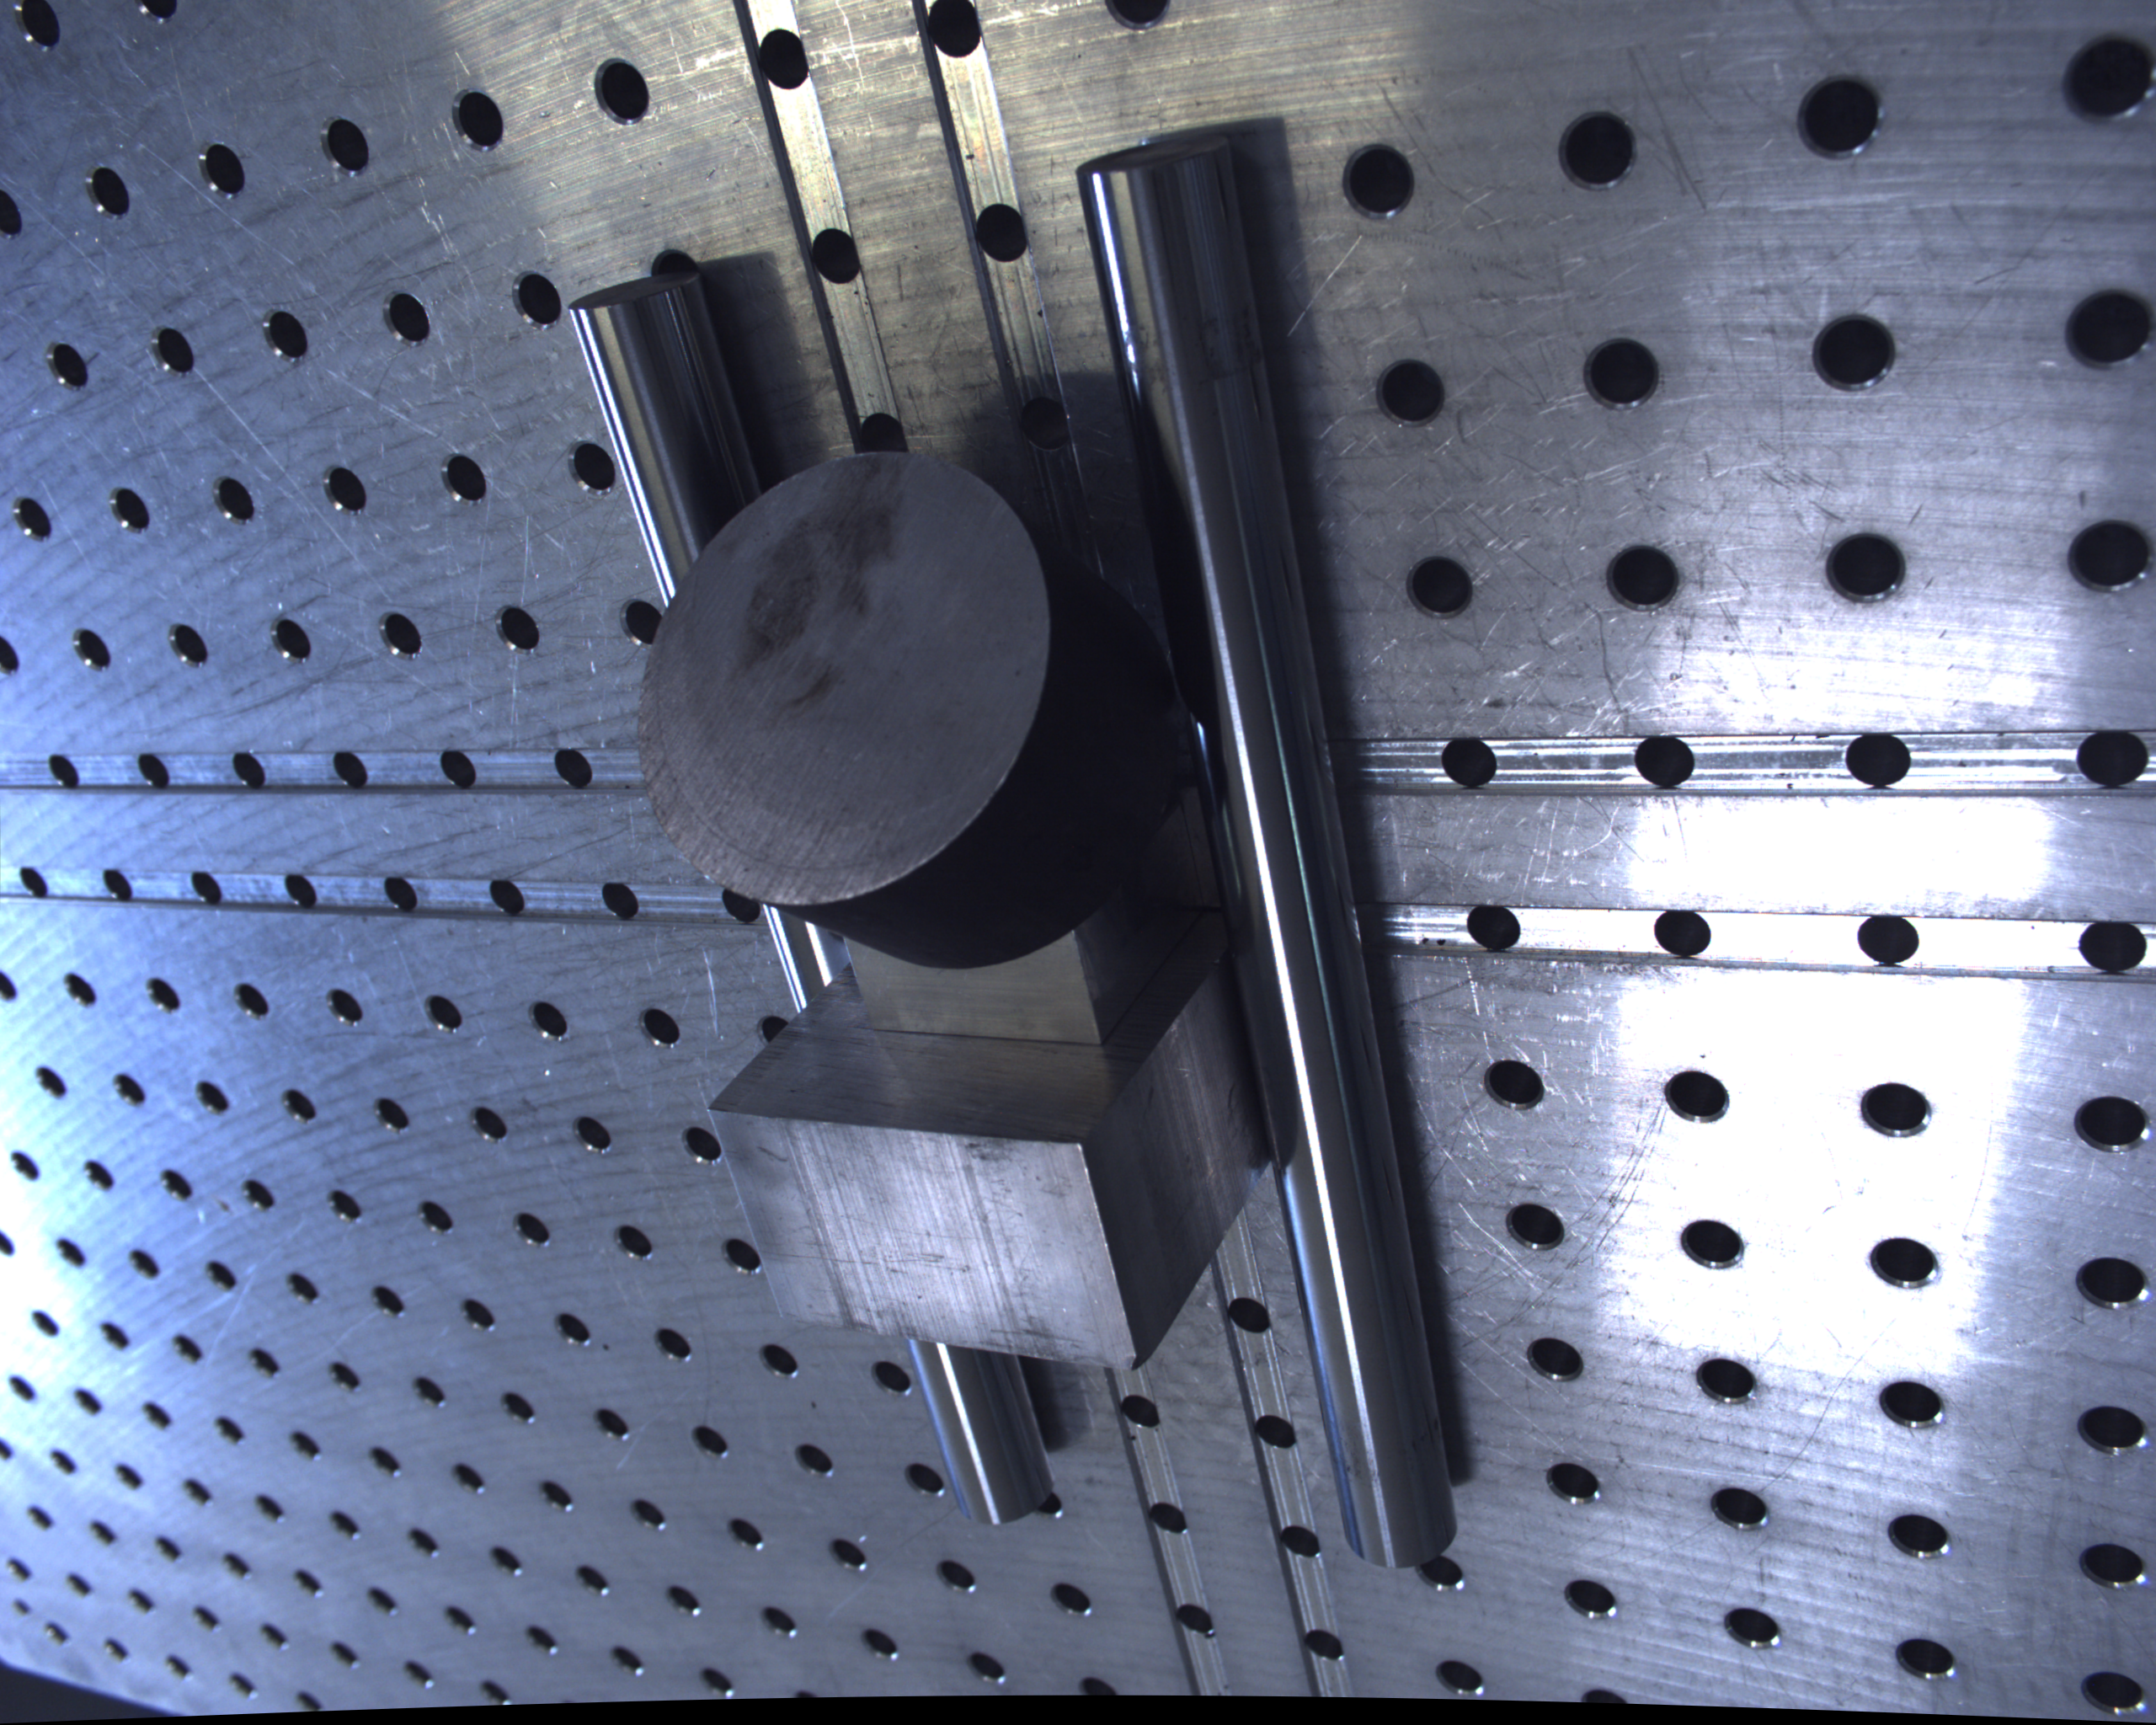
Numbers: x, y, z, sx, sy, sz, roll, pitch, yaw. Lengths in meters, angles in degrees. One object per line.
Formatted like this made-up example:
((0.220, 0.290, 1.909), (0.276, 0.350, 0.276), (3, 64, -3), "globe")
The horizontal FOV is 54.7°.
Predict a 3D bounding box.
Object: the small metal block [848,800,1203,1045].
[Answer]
((-0.010, 0.010, 0.406), (0.050, 0.050, 0.025), (1, 119, 27), "small metal block")

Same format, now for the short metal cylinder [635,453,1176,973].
((-0.030, -0.025, 0.368), (0.080, 0.050, 0.080), (-8, 71, 25), "short metal cylinder")

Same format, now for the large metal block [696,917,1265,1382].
((-0.013, 0.051, 0.411), (0.080, 0.080, 0.050), (1, 119, 28), "large metal block")

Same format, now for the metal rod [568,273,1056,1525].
((-0.050, 0.024, 0.452), (0.025, 0.025, 0.298), (1, 119, 28), "metal rod")

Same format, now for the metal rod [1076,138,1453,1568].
((0.042, 0.017, 0.400), (0.025, 0.025, 0.298), (2, 119, 27), "metal rod")
